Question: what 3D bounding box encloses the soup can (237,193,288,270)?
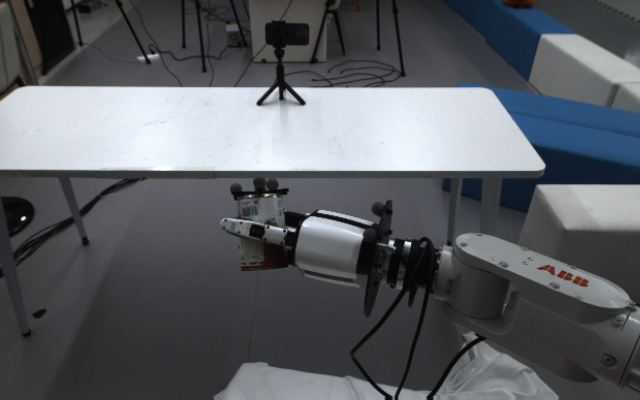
[{"bbox_3d":[-0.079,0.047,0.677,0.067,0.101,0.067,-5,-5,0],"label":"soup can"}]
